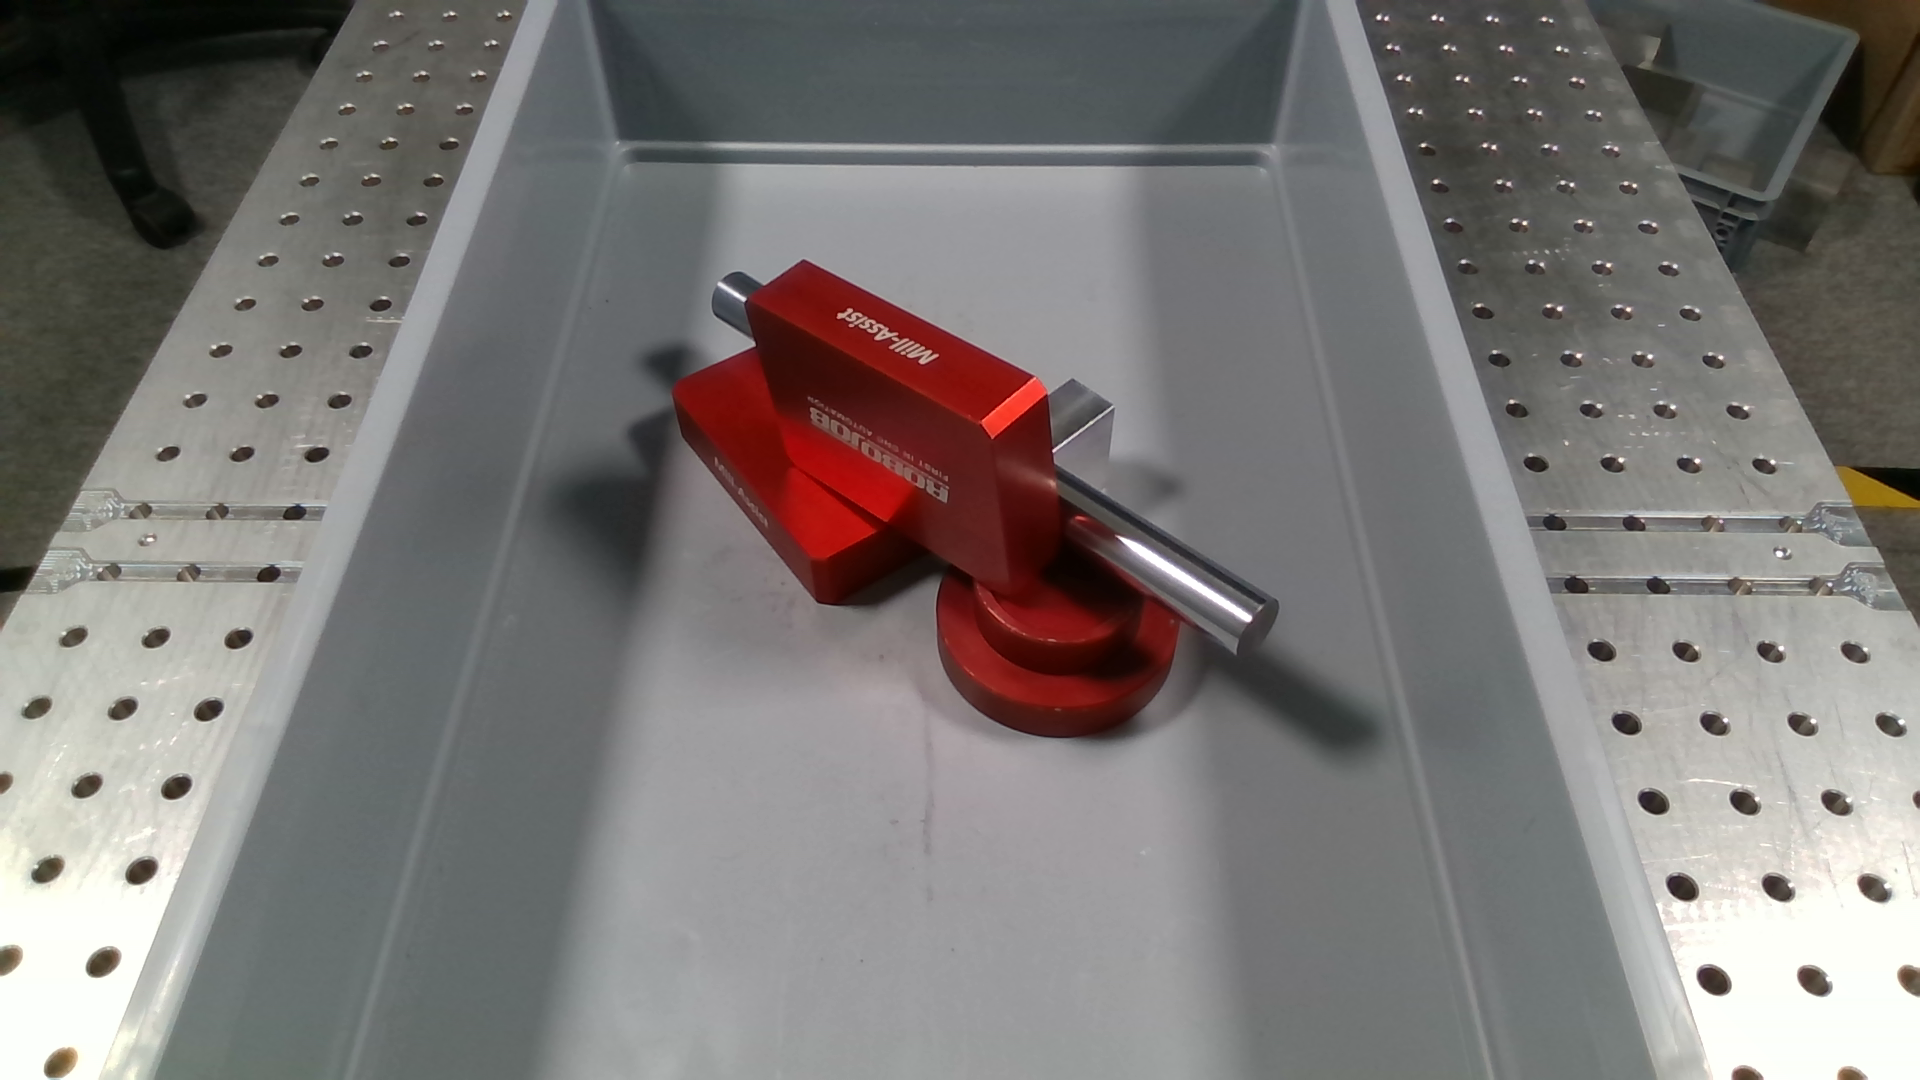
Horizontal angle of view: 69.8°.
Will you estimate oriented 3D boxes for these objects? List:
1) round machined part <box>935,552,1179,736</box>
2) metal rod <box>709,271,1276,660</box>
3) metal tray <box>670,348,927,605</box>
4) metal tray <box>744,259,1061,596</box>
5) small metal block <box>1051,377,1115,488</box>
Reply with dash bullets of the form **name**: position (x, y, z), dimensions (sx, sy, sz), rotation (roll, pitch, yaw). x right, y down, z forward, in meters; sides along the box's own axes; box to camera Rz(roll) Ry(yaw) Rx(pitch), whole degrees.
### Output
- **round machined part**: position (0.039, 0.026, 0.552), dimensions (0.098, 0.042, 0.098), rotation (0, 50, 0)
- **metal rod**: position (0.000, -0.041, 0.569), dimensions (0.299, 0.025, 0.025), rotation (34, 58, 30)
- **metal tray**: position (-0.059, -0.040, 0.616), dimensions (0.090, 0.030, 0.130), rotation (-28, 56, -22)
- **metal tray**: position (-0.022, -0.044, 0.530), dimensions (0.130, 0.090, 0.030), rotation (32, 59, 32)
- **small metal block**: position (0.039, -0.034, 0.598), dimensions (0.050, 0.050, 0.025), rotation (-37, 59, -27)
